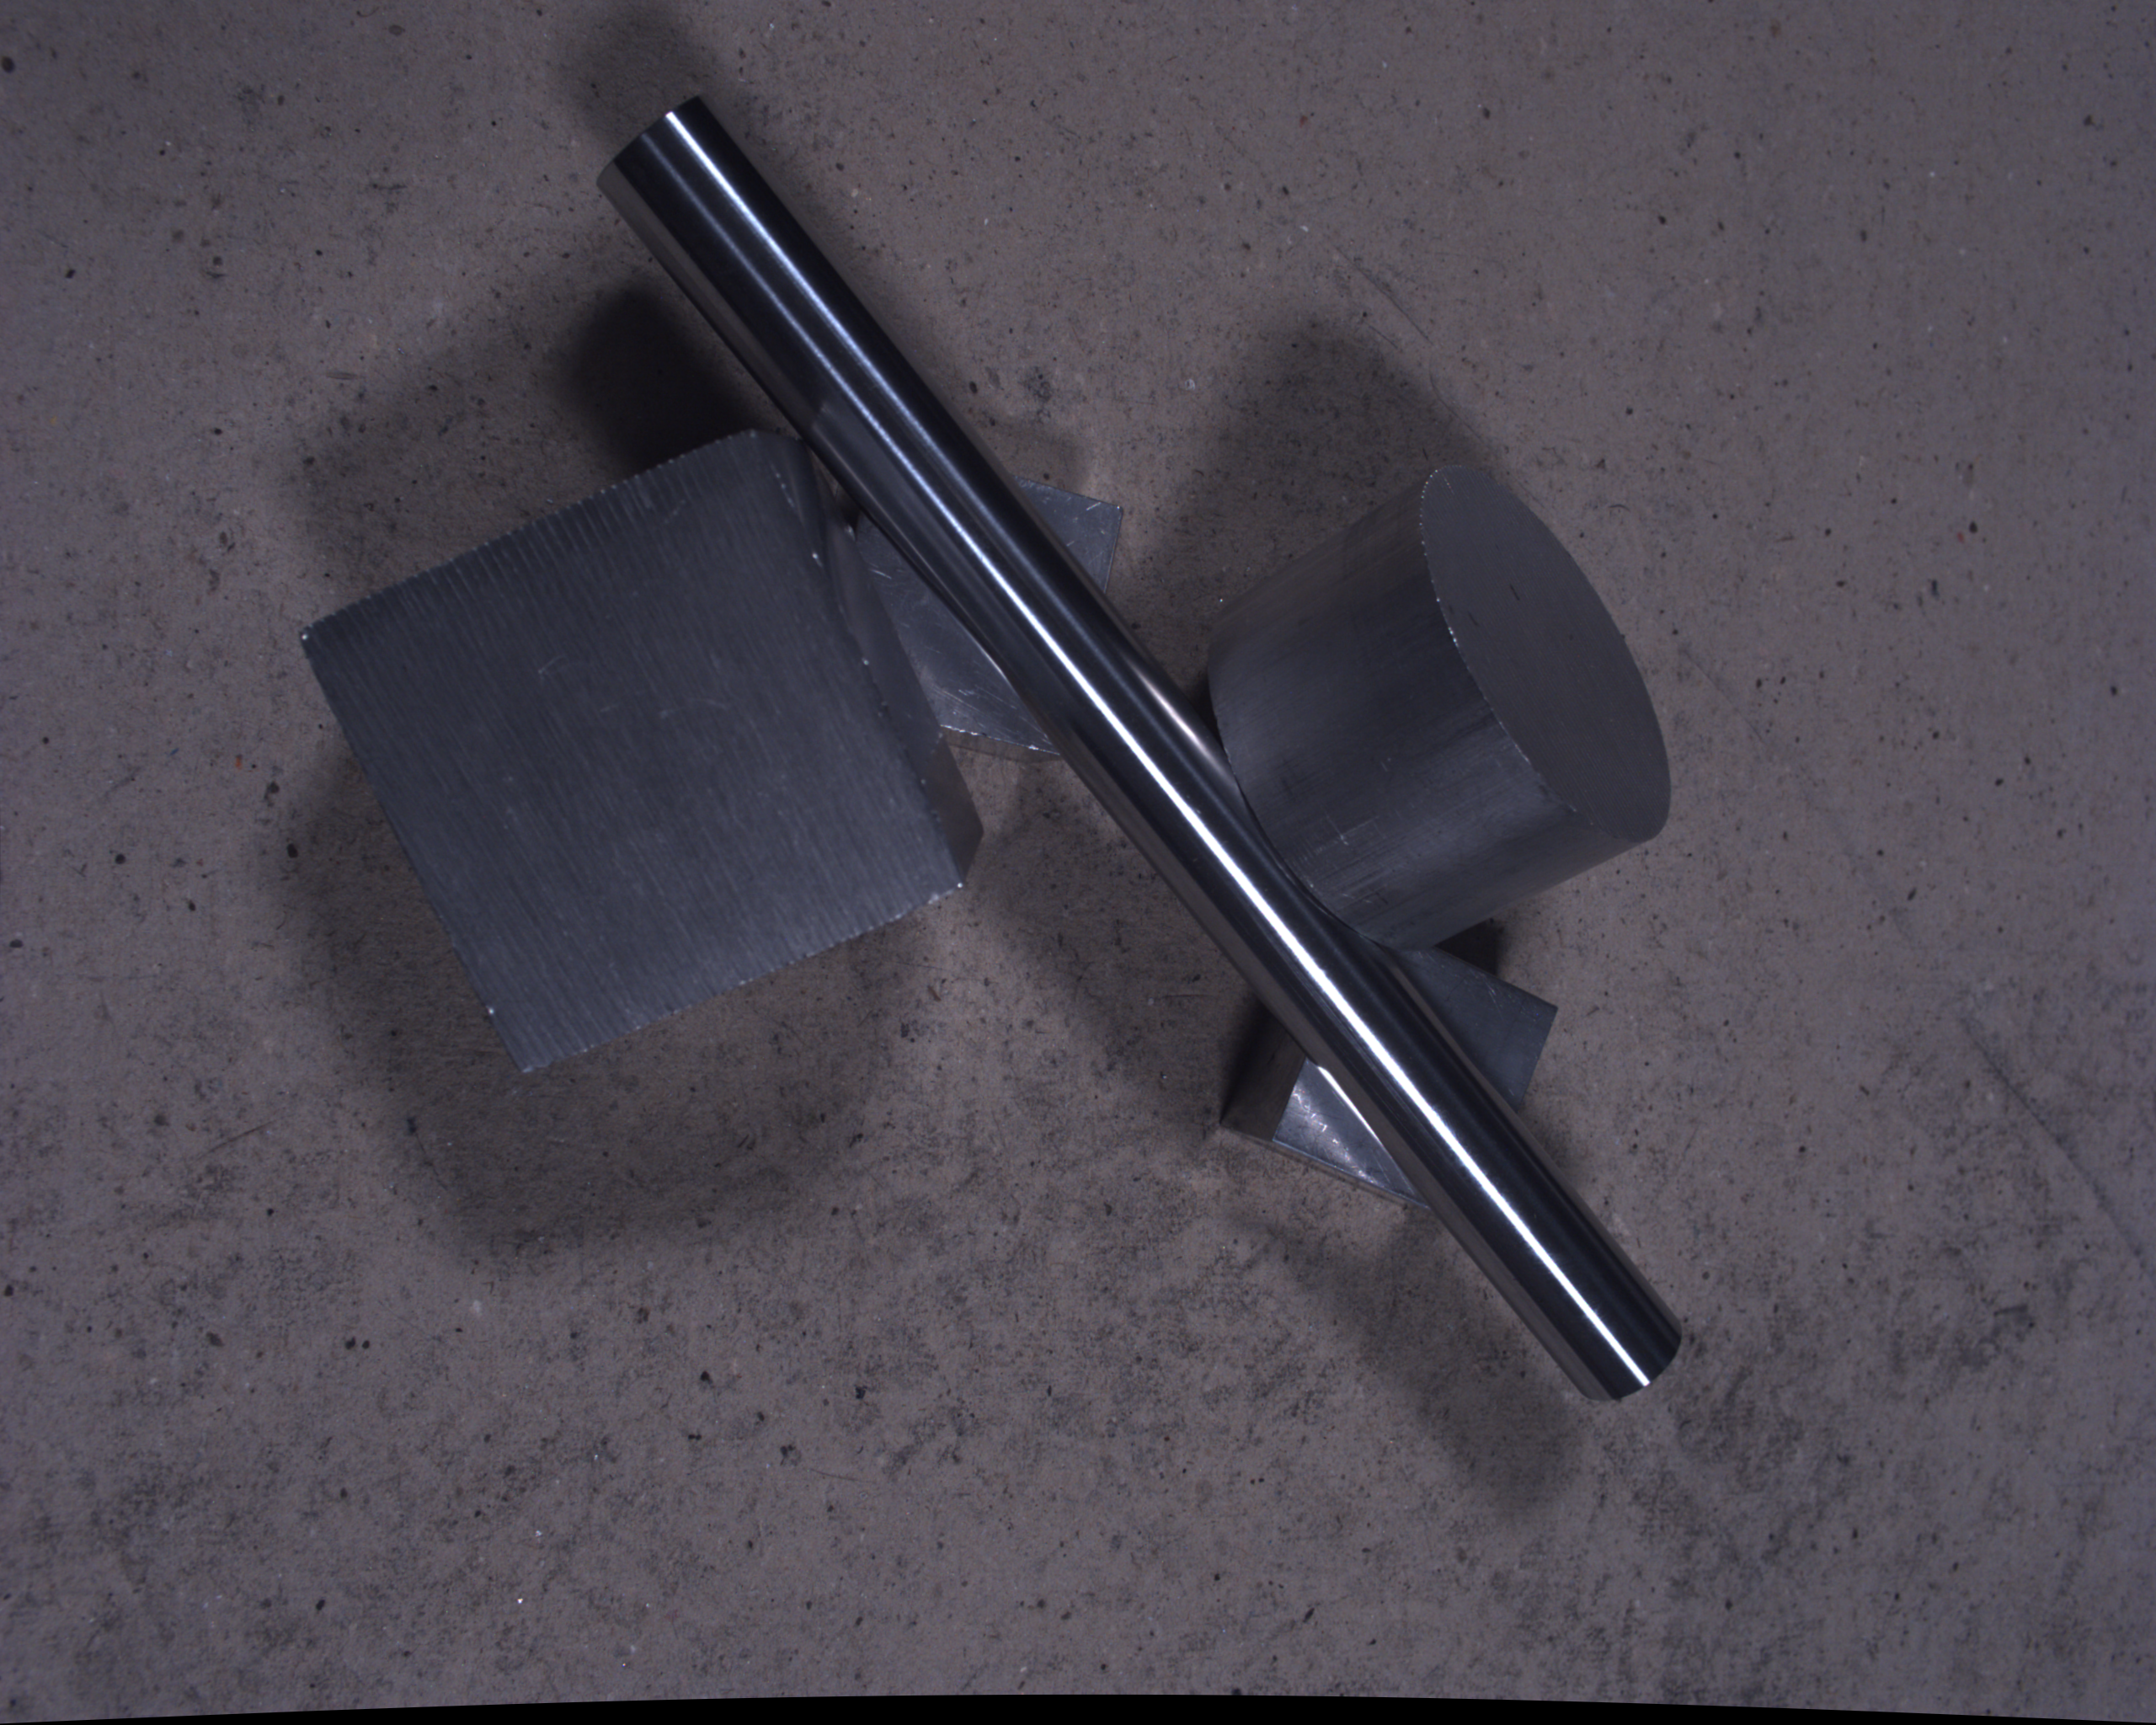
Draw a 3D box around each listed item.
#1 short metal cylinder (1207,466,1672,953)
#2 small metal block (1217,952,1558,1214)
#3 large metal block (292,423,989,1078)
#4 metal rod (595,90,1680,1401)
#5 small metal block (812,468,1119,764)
[{"bbox_3d":[0.070,-0.029,0.403,0.080,0.050,0.080,33,42,-35],"label":"short metal cylinder"},{"bbox_3d":[0.065,0.042,0.436,0.050,0.025,0.050,26,81,-19],"label":"small metal block"},{"bbox_3d":[-0.070,-0.021,0.354,0.080,0.050,0.080,-23,100,5],"label":"large metal block"},{"bbox_3d":[0.020,-0.012,0.392,0.025,0.025,0.300,-43,104,-15],"label":"metal rod"},{"bbox_3d":[-0.025,-0.049,0.402,0.050,0.025,0.050,13,86,-20],"label":"small metal block"}]
